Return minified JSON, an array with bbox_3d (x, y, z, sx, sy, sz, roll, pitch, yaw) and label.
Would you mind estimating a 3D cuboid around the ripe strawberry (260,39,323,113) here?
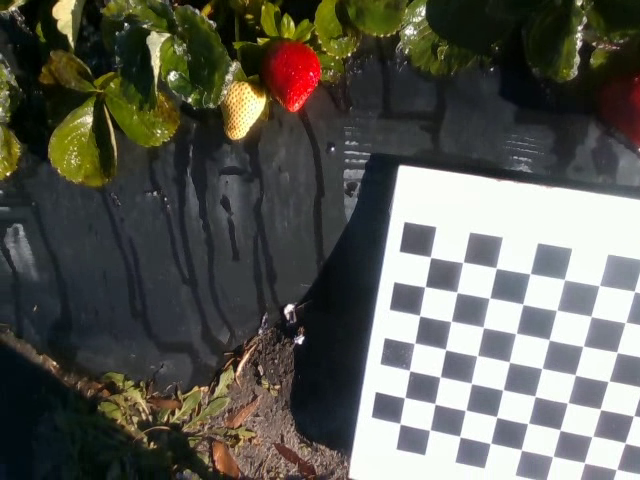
[{"bbox_3d":[-0.018,-0.108,0.416,0.042,0.061,0.046,-4,-28,11],"label":"ripe strawberry"}]
